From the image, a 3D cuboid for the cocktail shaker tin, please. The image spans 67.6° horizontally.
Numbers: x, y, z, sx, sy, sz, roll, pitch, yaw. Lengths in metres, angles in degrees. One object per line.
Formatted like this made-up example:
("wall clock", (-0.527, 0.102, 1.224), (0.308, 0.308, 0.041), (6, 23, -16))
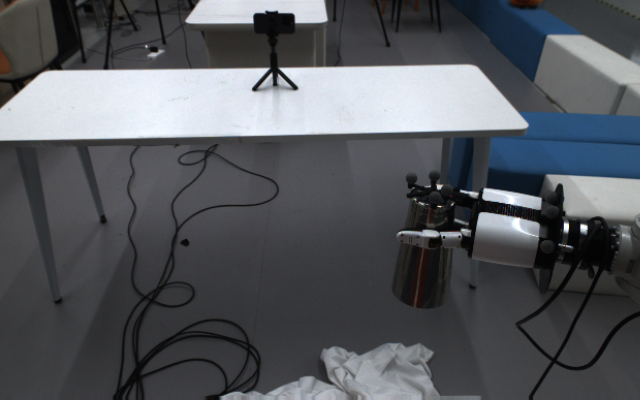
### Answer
("cocktail shaker tin", (0.168, 0.068, 0.756), (0.093, 0.170, 0.093), (1, 27, -1))
